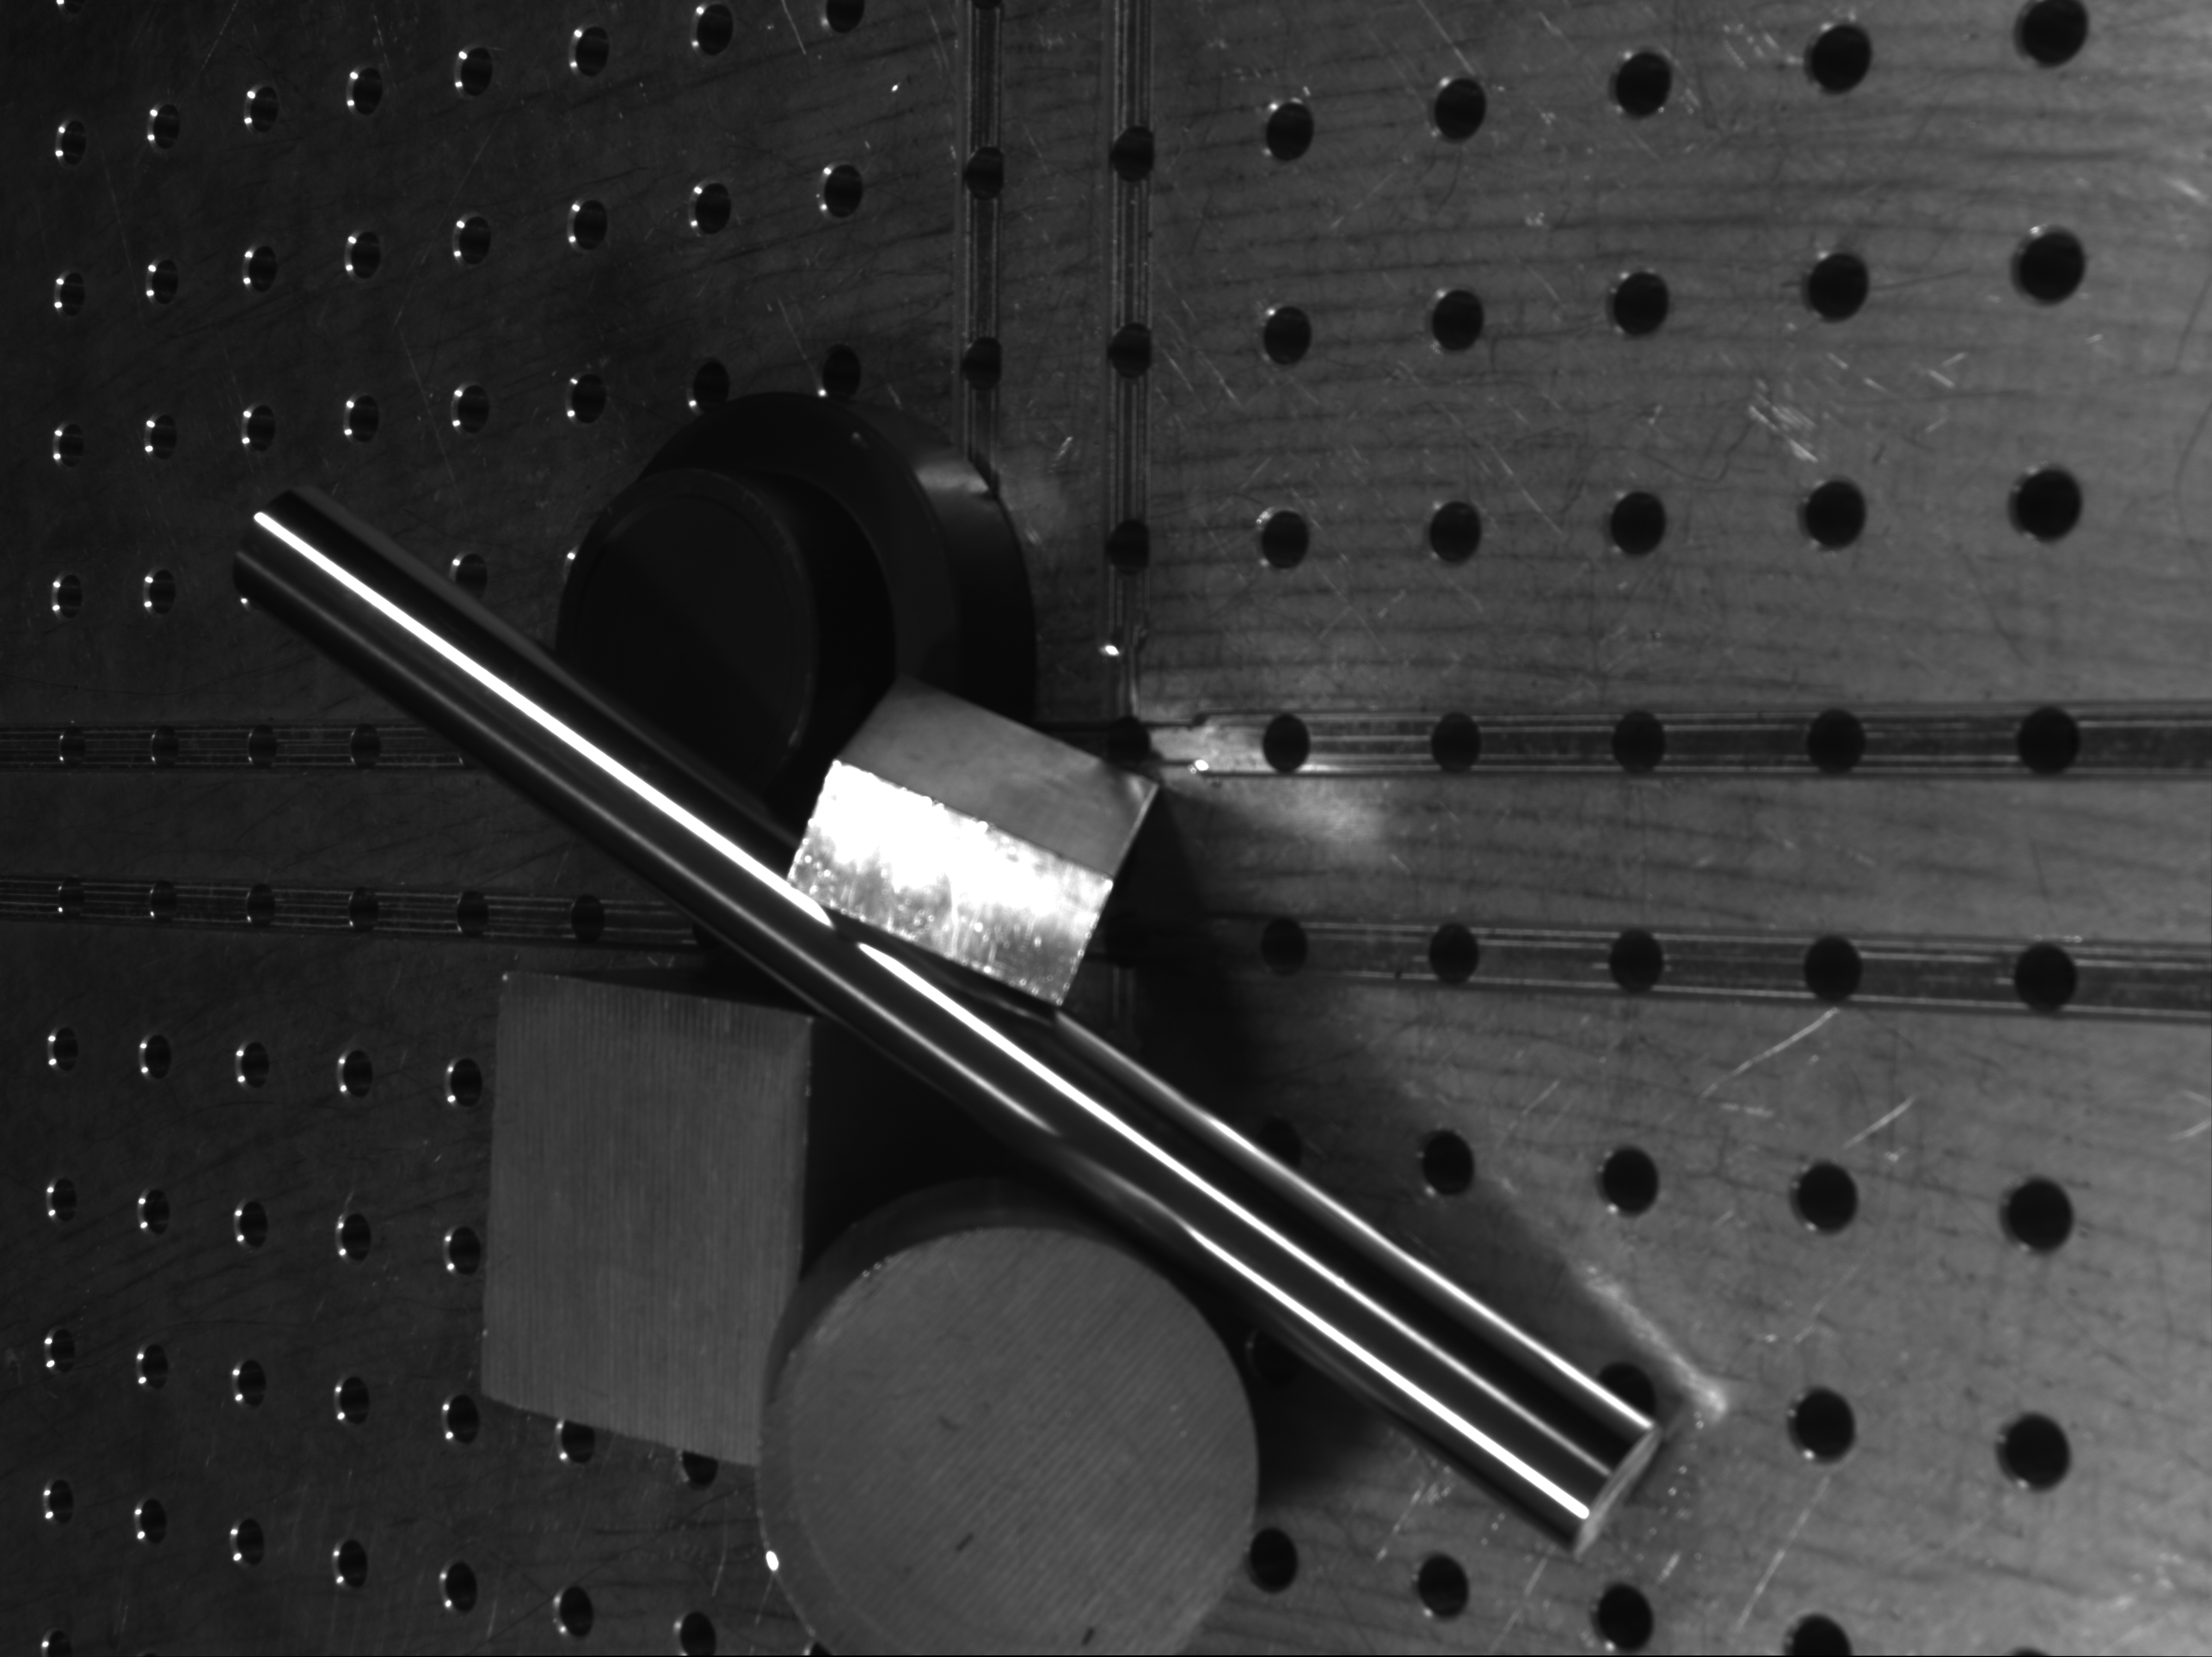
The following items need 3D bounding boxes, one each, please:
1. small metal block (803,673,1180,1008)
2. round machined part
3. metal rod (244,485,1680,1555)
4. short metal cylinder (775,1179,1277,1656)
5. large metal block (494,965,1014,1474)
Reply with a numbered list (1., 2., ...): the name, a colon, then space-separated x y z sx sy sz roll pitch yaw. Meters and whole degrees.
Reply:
1. small metal block: -0.019 0.001 0.626 0.050 0.050 0.025 23 111 2
2. round machined part: -0.061 -0.032 0.678 0.098 0.042 0.098 0 90 39
3. metal rod: -0.034 0.025 0.625 0.299 0.025 0.025 34 111 21
4. short metal cylinder: -0.015 0.102 0.607 0.080 0.050 0.080 0 93 -5
5. large metal block: -0.064 0.069 0.673 0.080 0.050 0.080 6 94 39
